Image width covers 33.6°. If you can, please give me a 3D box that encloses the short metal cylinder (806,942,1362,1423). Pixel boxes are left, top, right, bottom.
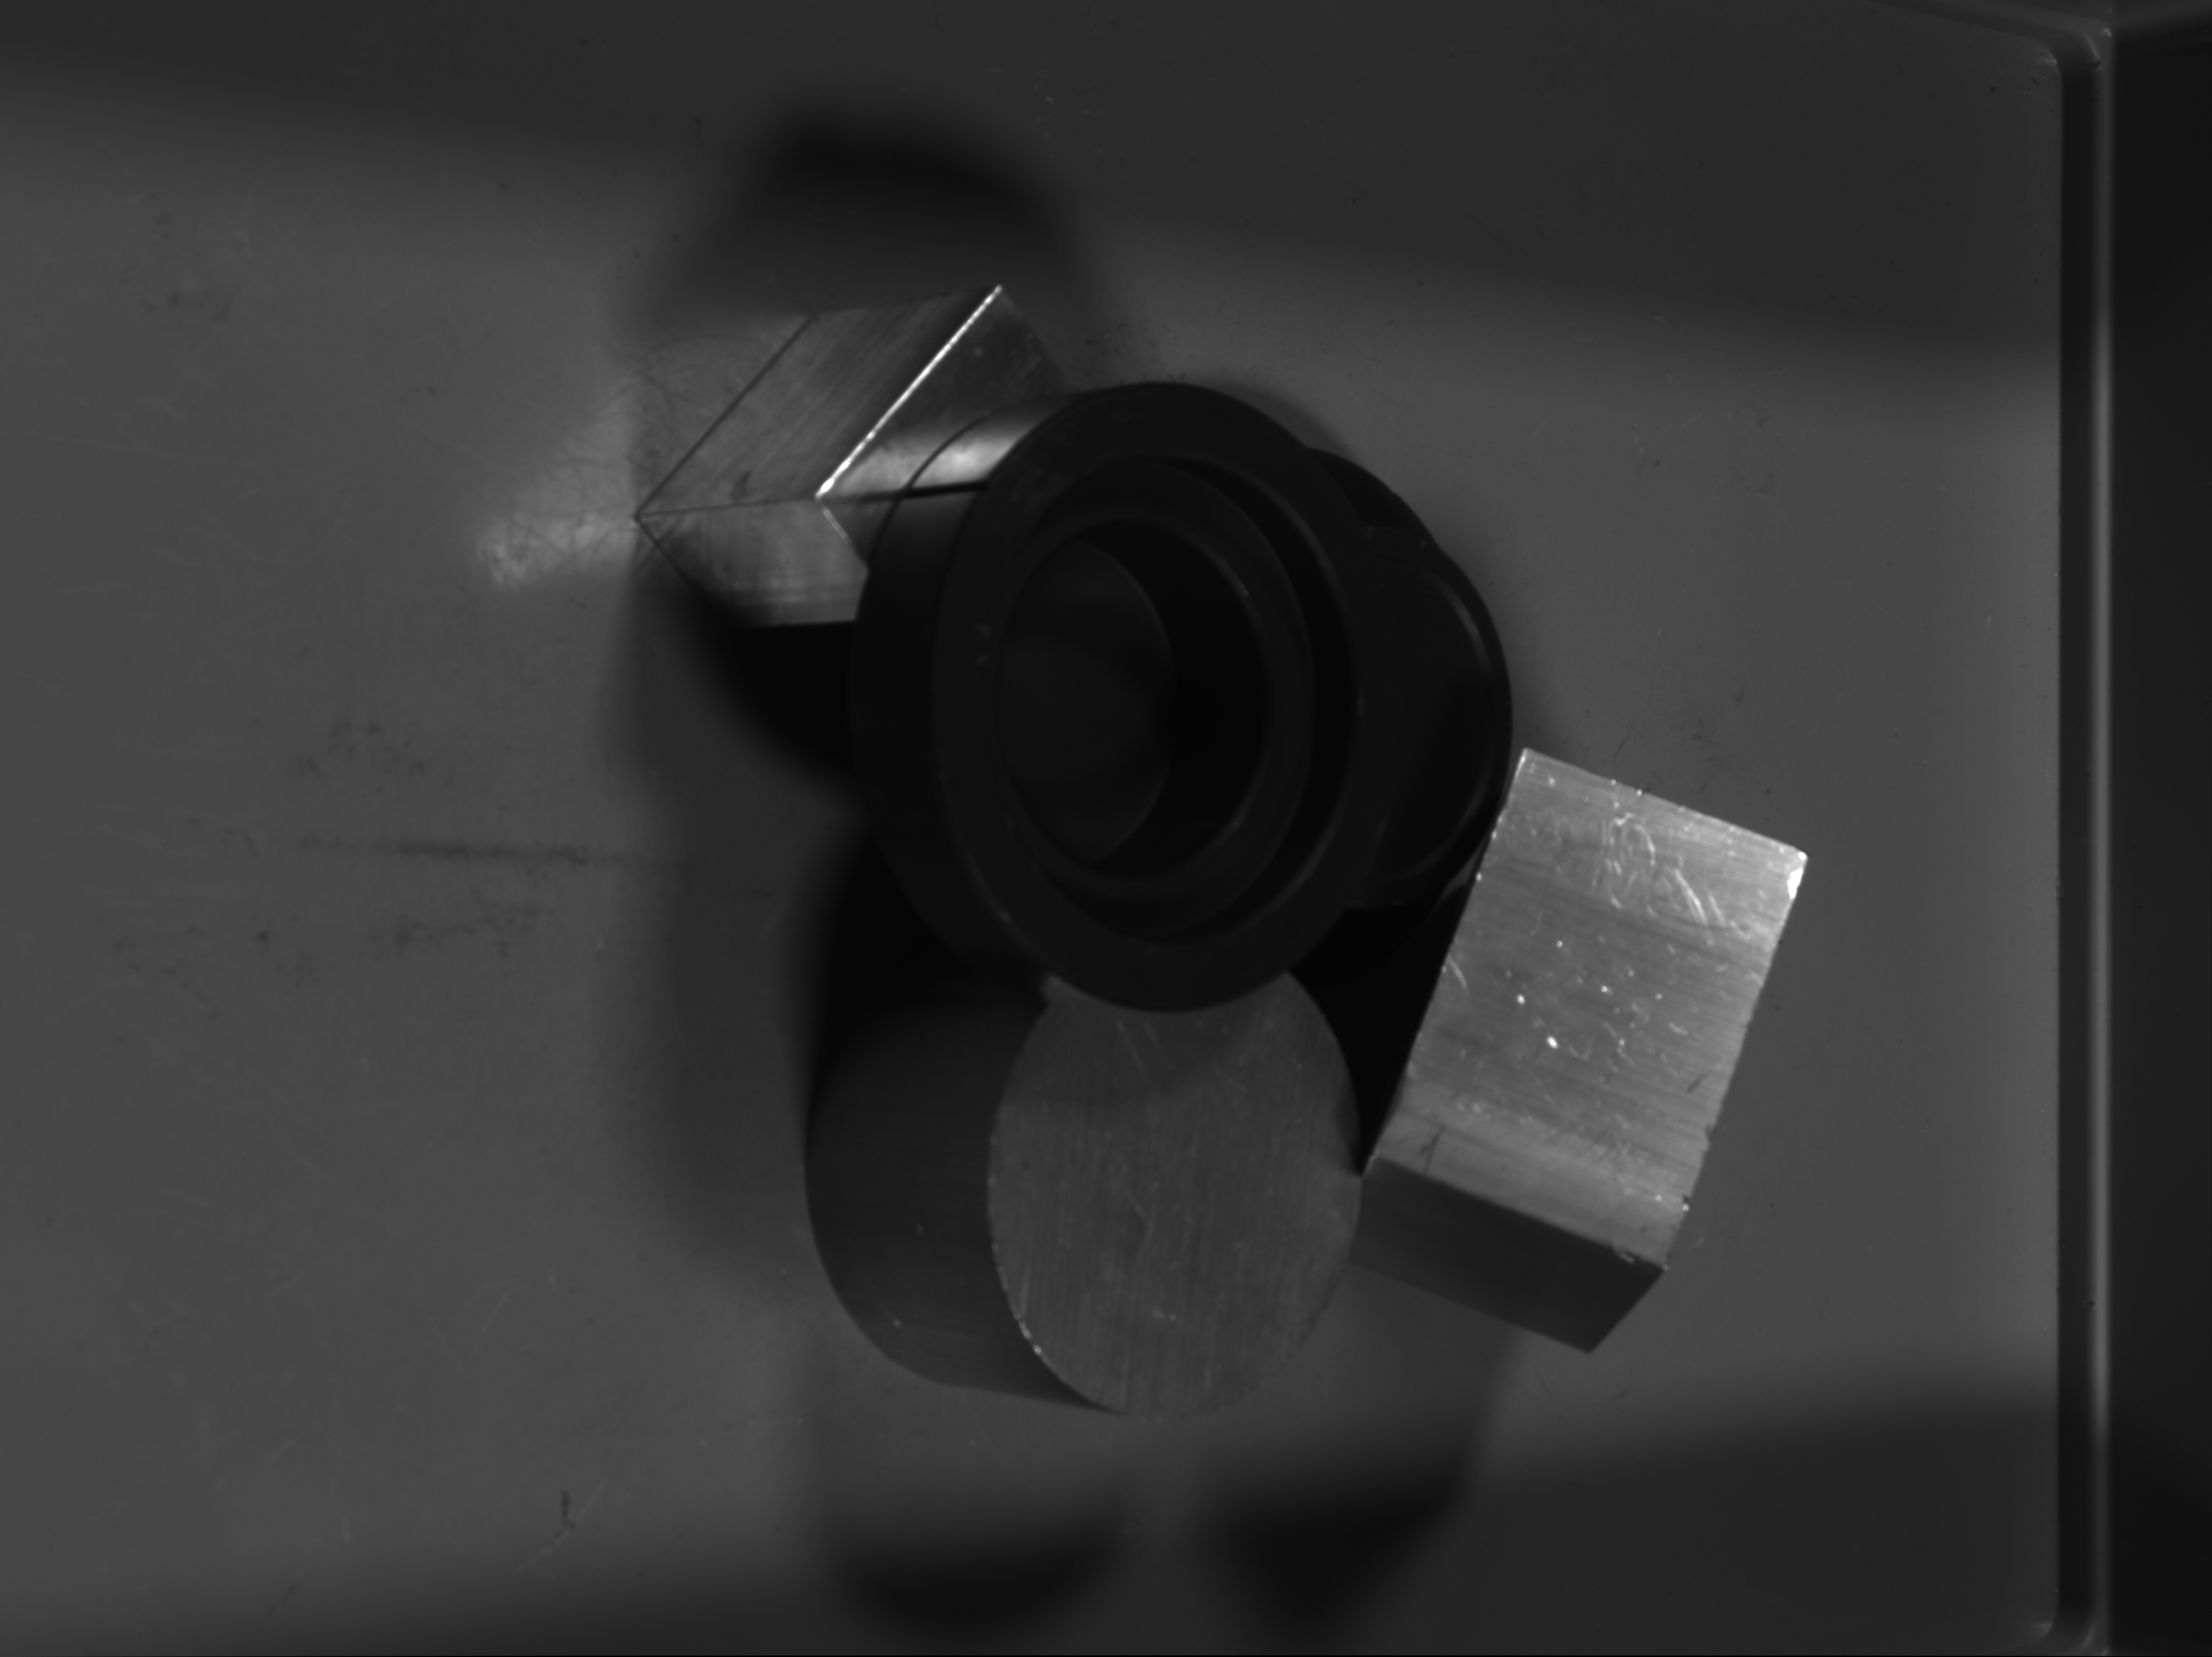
[{"bbox_3d":[-0.003,0.057,0.617,0.080,0.050,0.080,0,90,-40],"label":"short metal cylinder"}]

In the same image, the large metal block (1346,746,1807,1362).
[{"bbox_3d":[0.082,0.043,0.659,0.050,0.080,0.080,21,72,5],"label":"large metal block"}]

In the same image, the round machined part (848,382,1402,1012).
[{"bbox_3d":[-0.002,-0.020,0.585,0.098,0.042,0.098,0,90,-40],"label":"round machined part"}]

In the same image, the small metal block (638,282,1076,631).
[{"bbox_3d":[-0.039,-0.059,0.586,0.025,0.050,0.050,52,60,-27],"label":"small metal block"}]

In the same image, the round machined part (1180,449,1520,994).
[{"bbox_3d":[0.036,-0.019,0.652,0.098,0.042,0.098,0,90,-40],"label":"round machined part"}]
